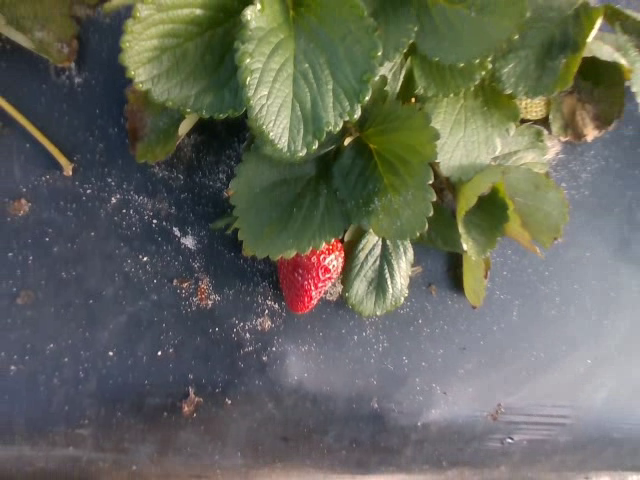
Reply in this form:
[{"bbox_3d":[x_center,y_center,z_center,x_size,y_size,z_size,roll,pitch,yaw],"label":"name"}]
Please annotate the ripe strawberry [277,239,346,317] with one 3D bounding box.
[{"bbox_3d":[-0.005,0.013,0.206,0.029,0.036,0.021,11,6,-5],"label":"ripe strawberry"}]
